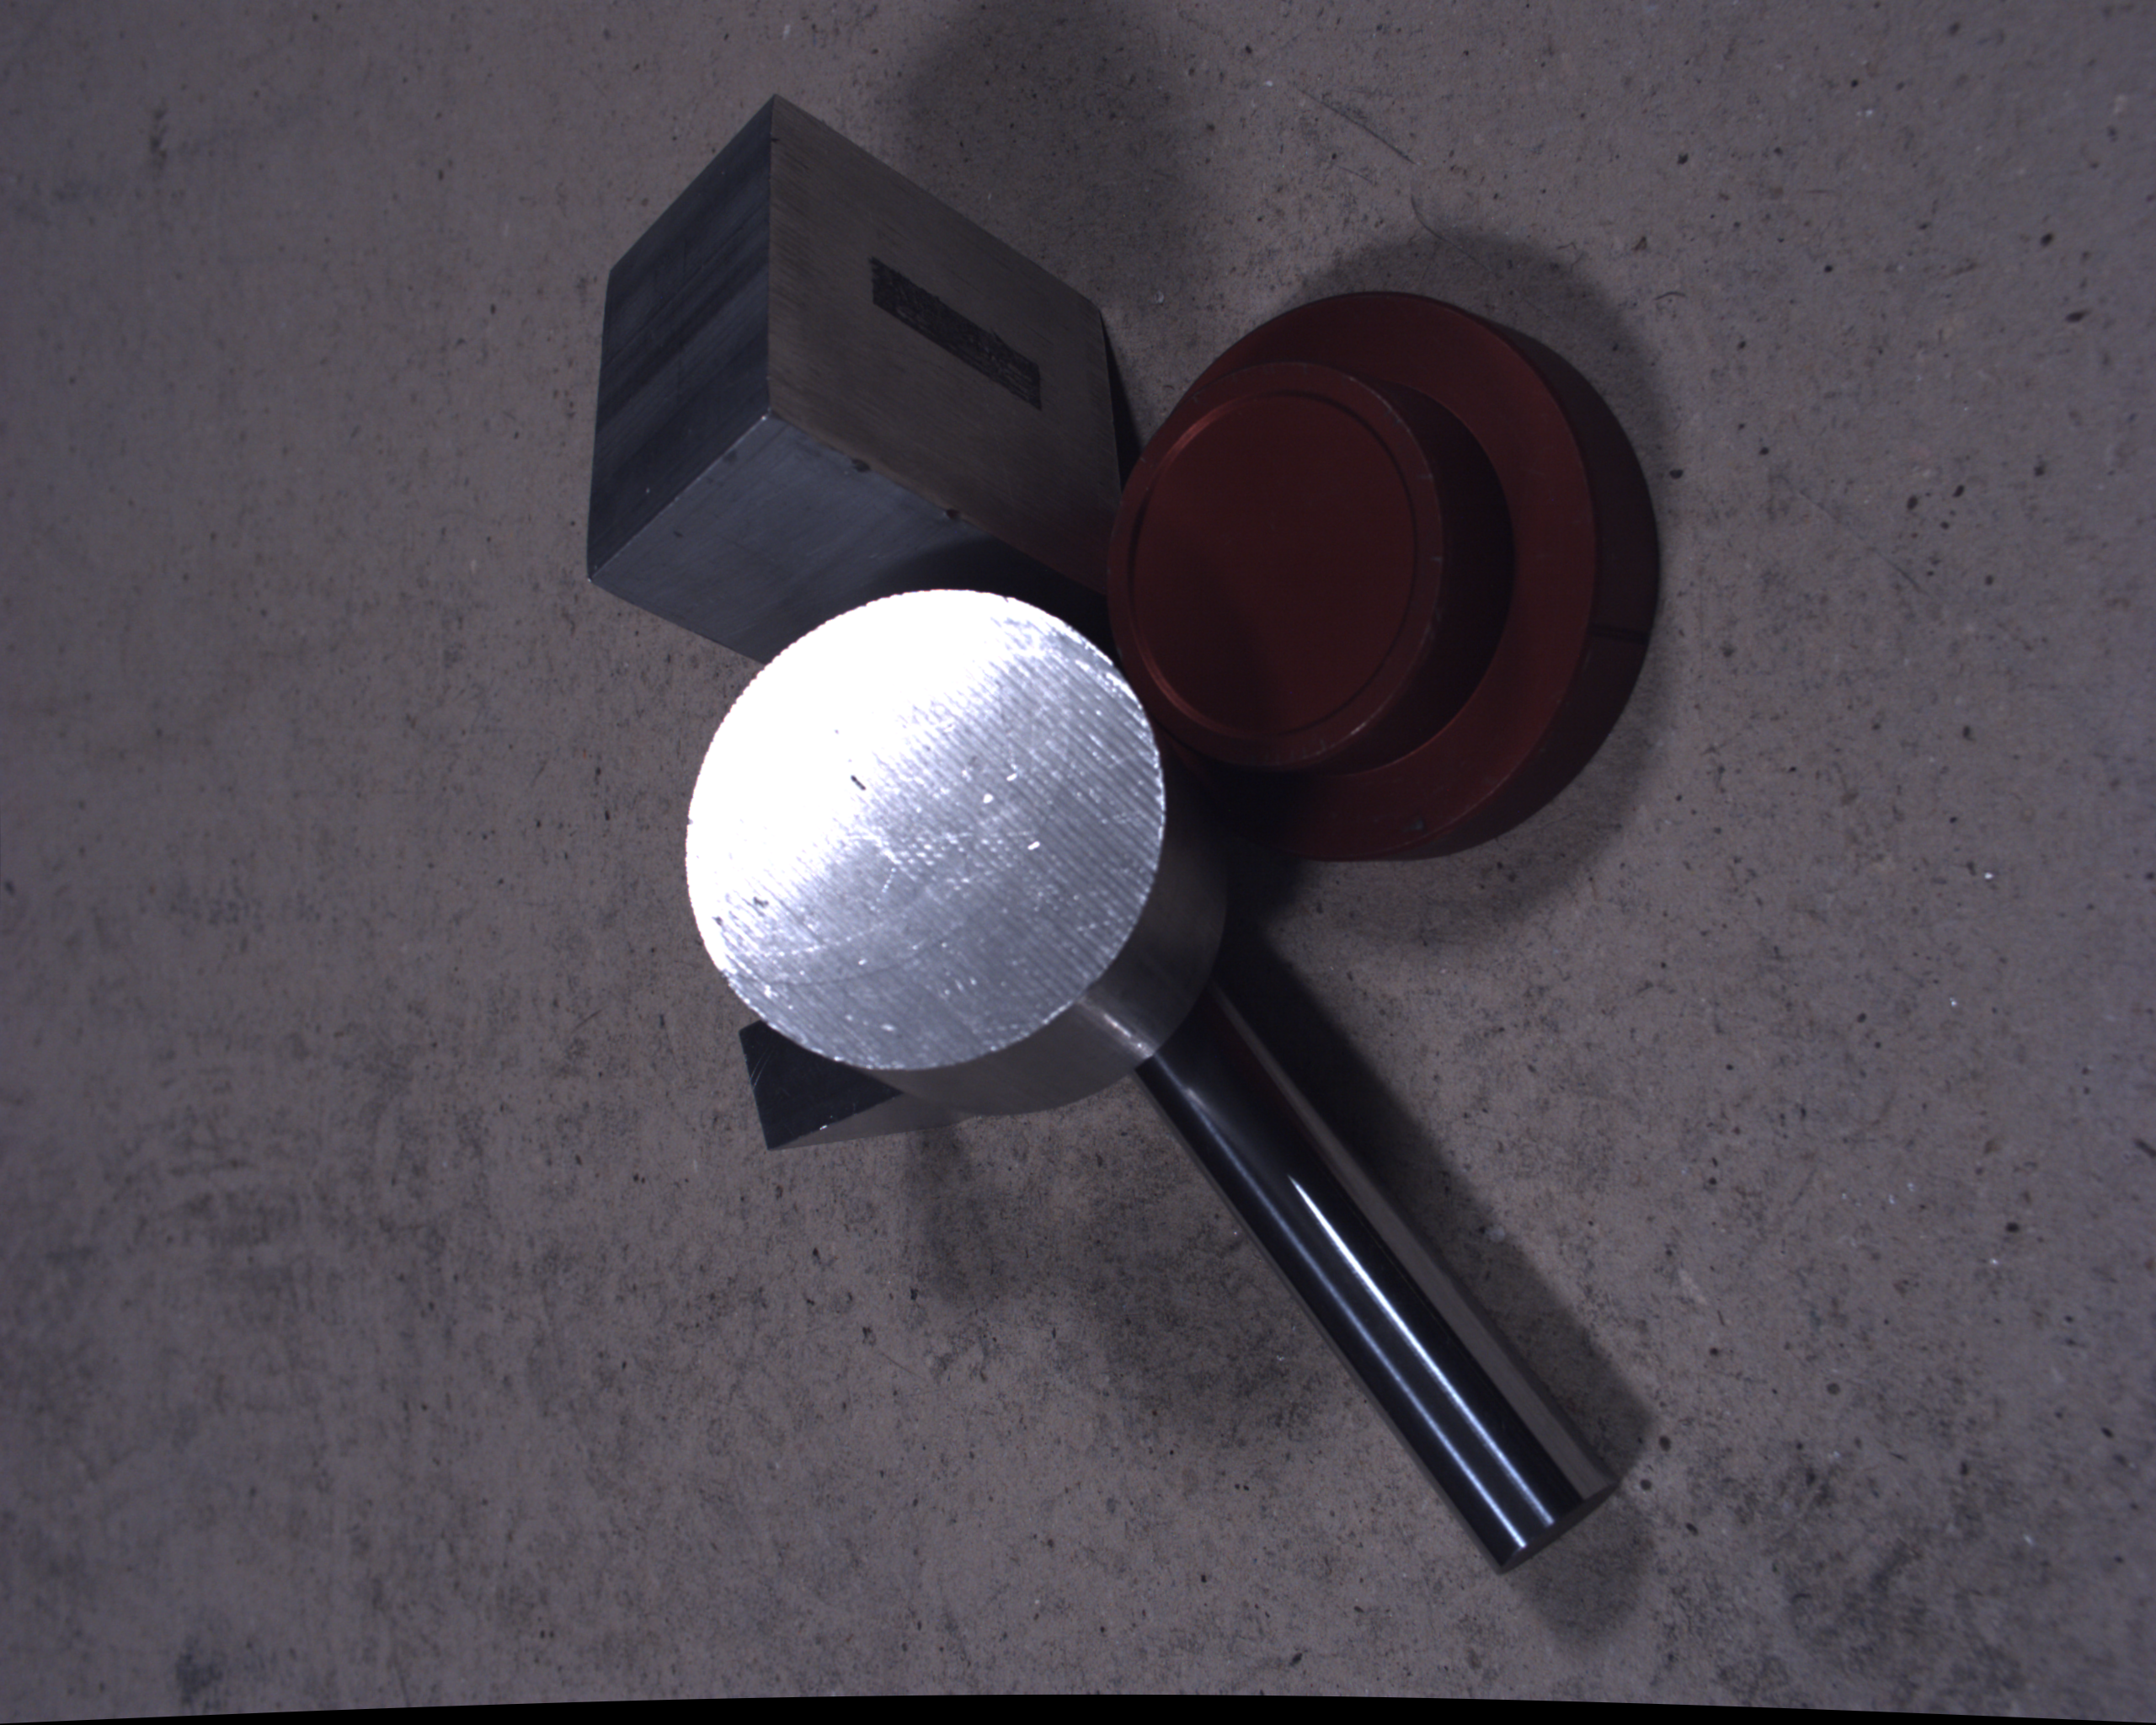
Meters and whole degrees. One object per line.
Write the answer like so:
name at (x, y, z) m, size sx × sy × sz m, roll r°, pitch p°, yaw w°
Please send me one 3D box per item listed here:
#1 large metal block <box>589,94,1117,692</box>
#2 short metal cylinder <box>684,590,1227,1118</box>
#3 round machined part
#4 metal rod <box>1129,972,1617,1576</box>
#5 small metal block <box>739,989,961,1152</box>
large metal block at (-0.040, -0.080, 0.388) m, size 0.050 × 0.080 × 0.080 m, roll -33°, pitch 48°, yaw 36°
short metal cylinder at (-0.019, 0.000, 0.356) m, size 0.080 × 0.050 × 0.080 m, roll -4°, pitch 73°, yaw 15°
round machined part at (0.044, -0.049, 0.357) m, size 0.098 × 0.042 × 0.097 m, roll 0°, pitch 90°, yaw 39°
metal rod at (-0.003, 0.003, 0.408) m, size 0.025 × 0.025 × 0.300 m, roll -52°, pitch 60°, yaw 27°
small metal block at (-0.029, 0.036, 0.413) m, size 0.050 × 0.050 × 0.025 m, roll -26°, pitch 73°, yaw 36°
